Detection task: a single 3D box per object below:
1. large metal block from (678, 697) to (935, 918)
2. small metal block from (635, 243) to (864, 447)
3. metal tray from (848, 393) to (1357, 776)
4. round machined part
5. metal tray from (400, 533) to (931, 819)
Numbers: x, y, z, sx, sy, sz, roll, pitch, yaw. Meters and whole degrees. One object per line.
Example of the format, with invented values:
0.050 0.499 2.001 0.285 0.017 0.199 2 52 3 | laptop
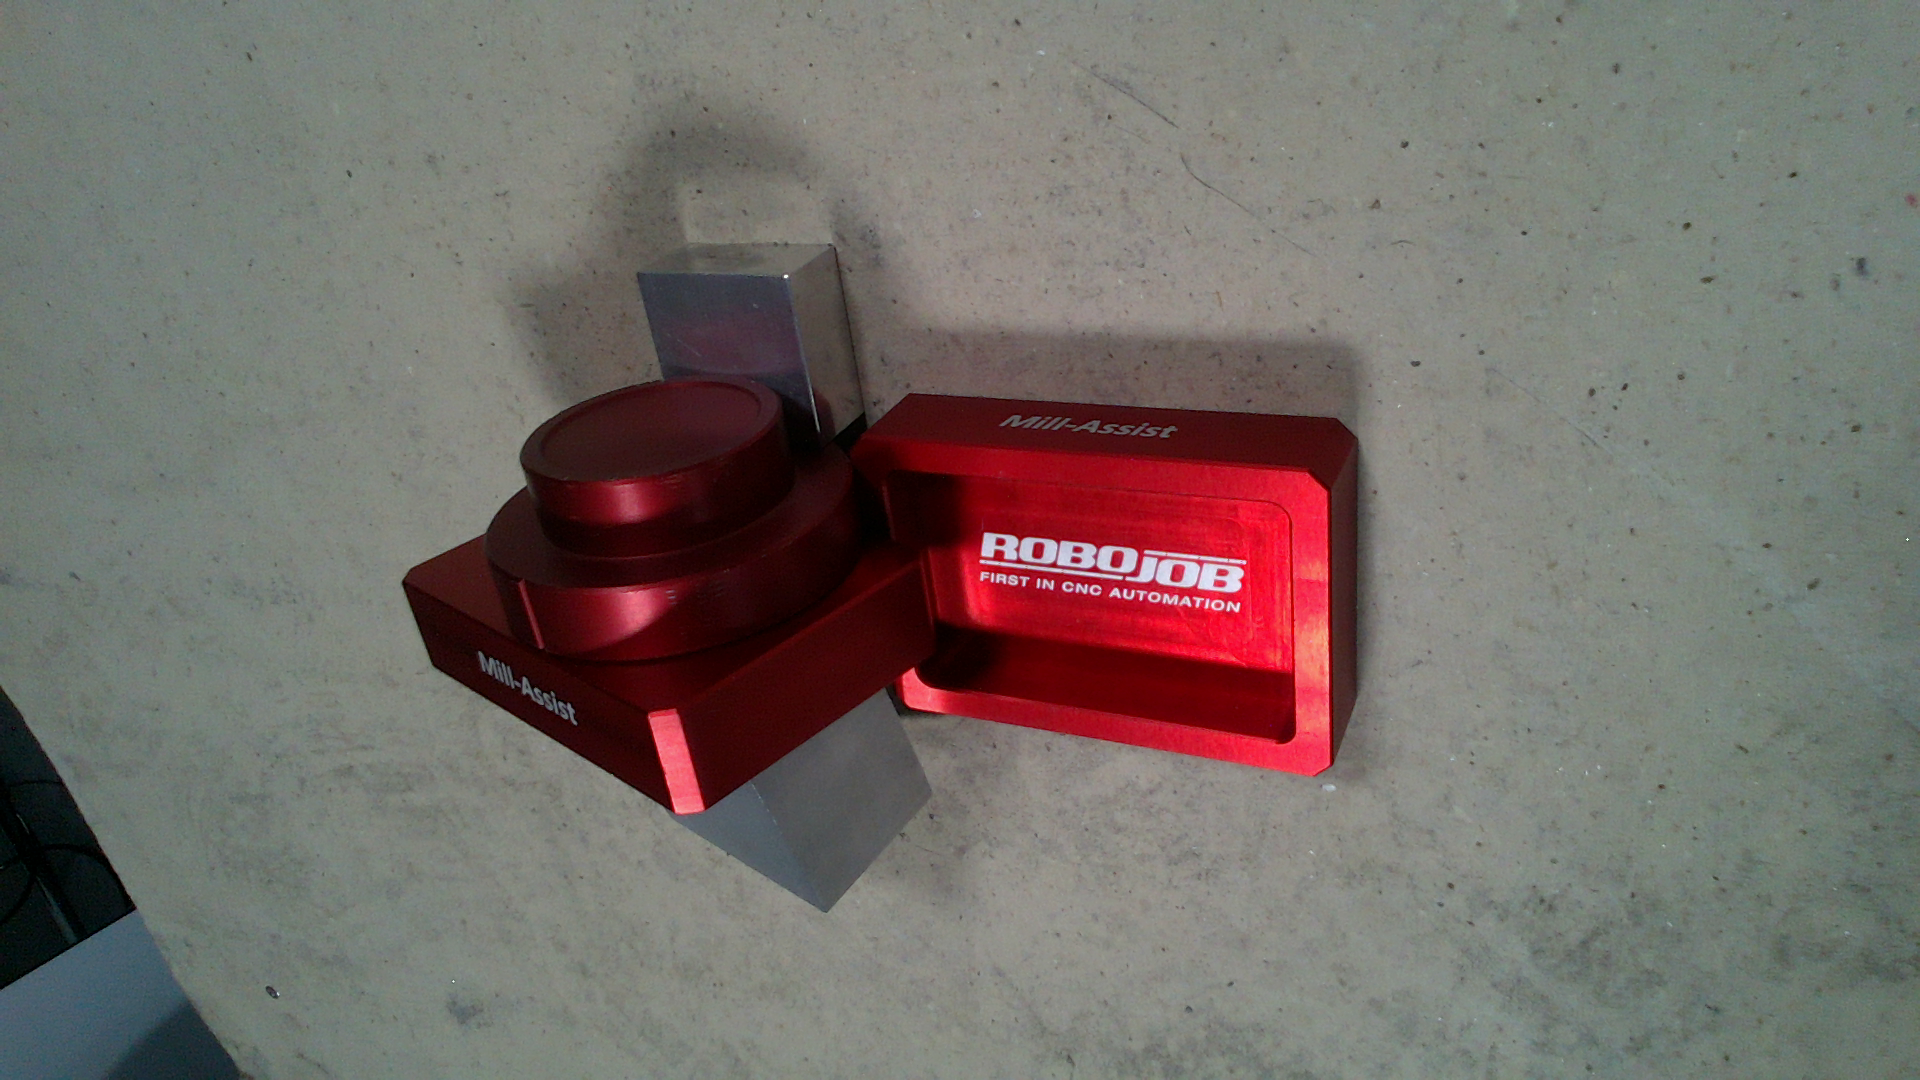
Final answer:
-0.064 0.057 0.423 0.080 0.050 0.080 18 141 40 | large metal block
-0.059 -0.056 0.391 0.050 0.025 0.050 6 121 25 | small metal block
0.039 0.010 0.375 0.130 0.030 0.090 6 121 25 | metal tray
-0.078 -0.011 0.367 0.098 0.098 0.042 6 121 25 | round machined part
-0.084 0.020 0.386 0.129 0.090 0.030 19 129 40 | metal tray
